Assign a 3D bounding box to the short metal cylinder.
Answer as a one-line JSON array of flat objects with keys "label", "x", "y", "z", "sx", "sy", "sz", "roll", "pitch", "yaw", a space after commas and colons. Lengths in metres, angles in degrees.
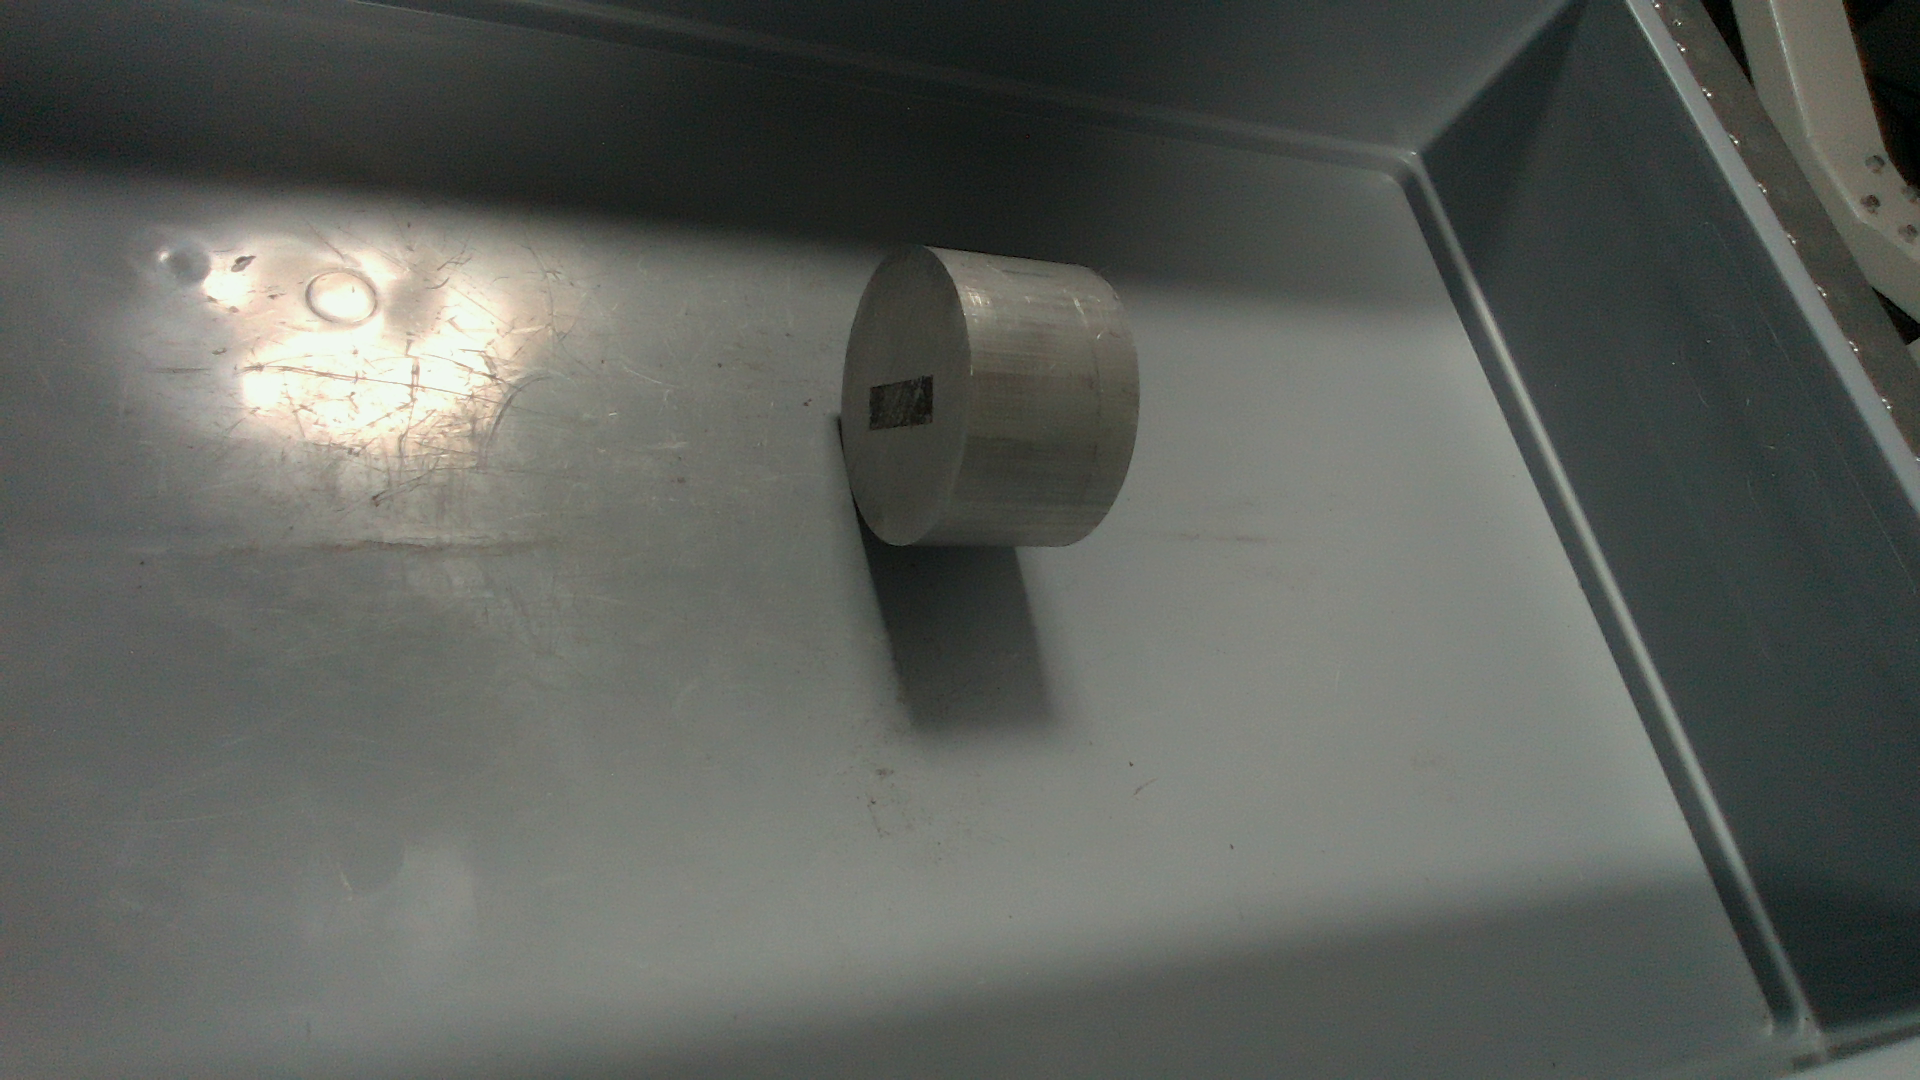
[{"label": "short metal cylinder", "x": 0.006, "y": -0.038, "z": 0.378, "sx": 0.050, "sy": 0.080, "sz": 0.080, "roll": 0, "pitch": 61, "yaw": -28}]
